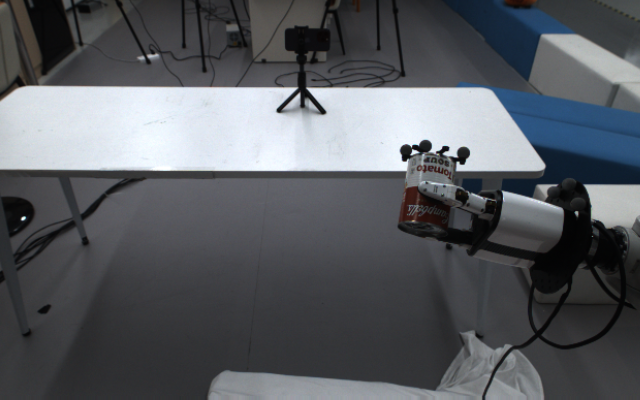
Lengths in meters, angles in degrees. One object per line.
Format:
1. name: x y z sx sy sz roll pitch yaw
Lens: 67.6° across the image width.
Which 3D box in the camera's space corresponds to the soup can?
1. soup can: 0.149 -0.008 0.667 0.067 0.067 0.101 9 74 9
